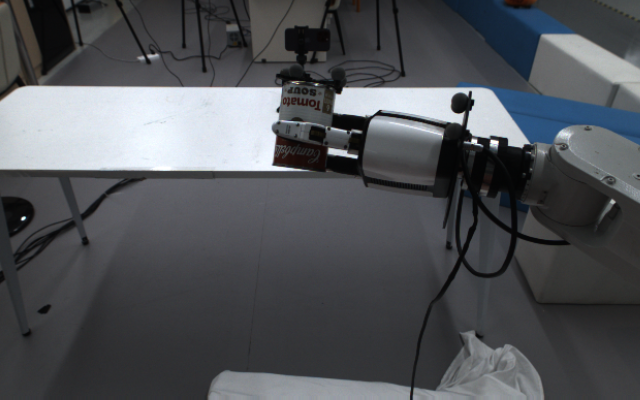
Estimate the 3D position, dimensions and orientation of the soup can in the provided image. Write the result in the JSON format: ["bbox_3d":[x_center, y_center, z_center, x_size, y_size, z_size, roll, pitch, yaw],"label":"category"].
[{"bbox_3d":[-0.018,-0.089,0.597,0.067,0.101,0.067,7,4,0],"label":"soup can"}]
